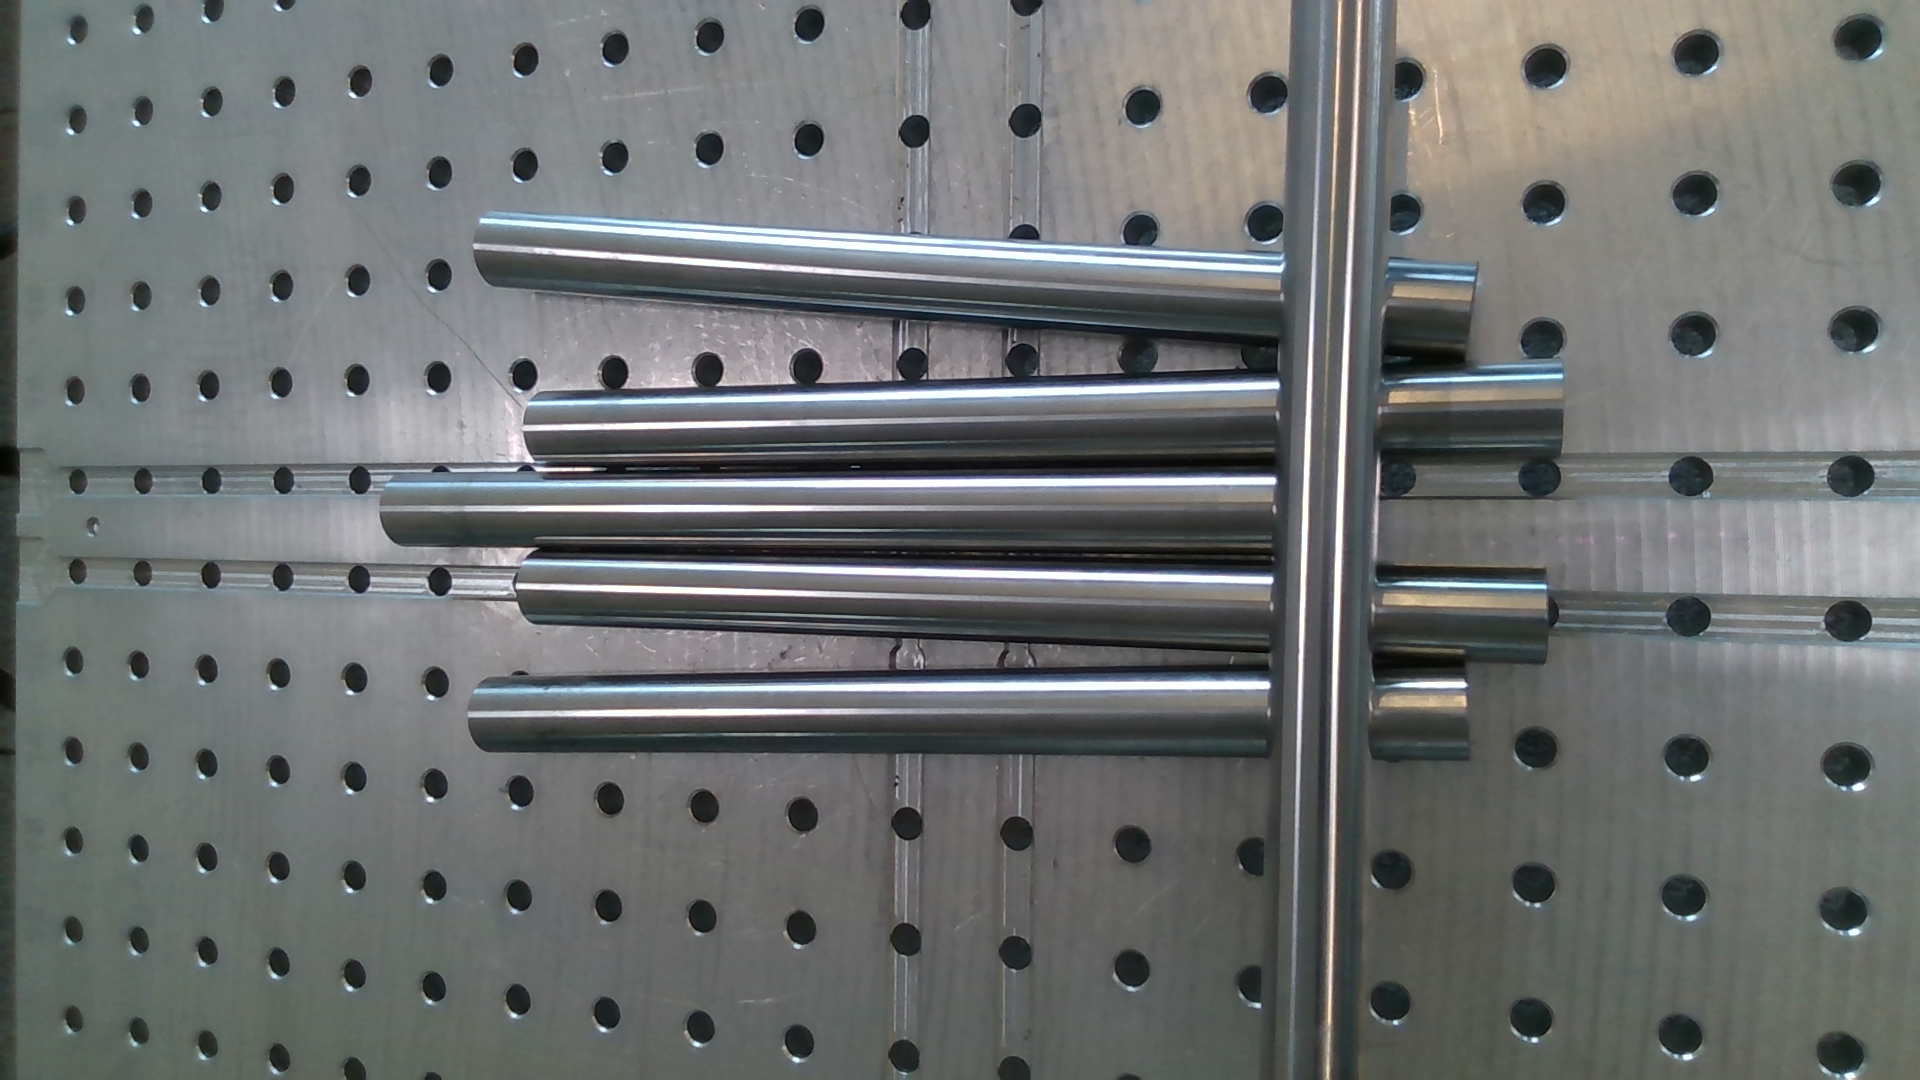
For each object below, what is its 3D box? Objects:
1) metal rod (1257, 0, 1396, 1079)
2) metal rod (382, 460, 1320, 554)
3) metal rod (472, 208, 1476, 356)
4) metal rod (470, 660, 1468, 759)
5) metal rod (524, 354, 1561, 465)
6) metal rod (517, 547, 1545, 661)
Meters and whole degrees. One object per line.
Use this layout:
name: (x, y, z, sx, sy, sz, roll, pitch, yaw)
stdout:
metal rod: (0.089, 0.008, 0.337, 0.025, 0.025, 0.300, 2, 91, 20)
metal rod: (-0.045, -0.010, 0.413, 0.300, 0.025, 0.025, 1, 90, 20)
metal rod: (-0.011, -0.077, 0.399, 0.300, 0.025, 0.025, 8, 93, 20)
metal rod: (-0.012, 0.050, 0.401, 0.300, 0.025, 0.025, -3, 89, 20)
metal rod: (0.008, -0.035, 0.394, 0.300, 0.025, 0.025, 1, 90, 20)
metal rod: (0.005, 0.016, 0.396, 0.300, 0.025, 0.025, 1, 90, 20)
